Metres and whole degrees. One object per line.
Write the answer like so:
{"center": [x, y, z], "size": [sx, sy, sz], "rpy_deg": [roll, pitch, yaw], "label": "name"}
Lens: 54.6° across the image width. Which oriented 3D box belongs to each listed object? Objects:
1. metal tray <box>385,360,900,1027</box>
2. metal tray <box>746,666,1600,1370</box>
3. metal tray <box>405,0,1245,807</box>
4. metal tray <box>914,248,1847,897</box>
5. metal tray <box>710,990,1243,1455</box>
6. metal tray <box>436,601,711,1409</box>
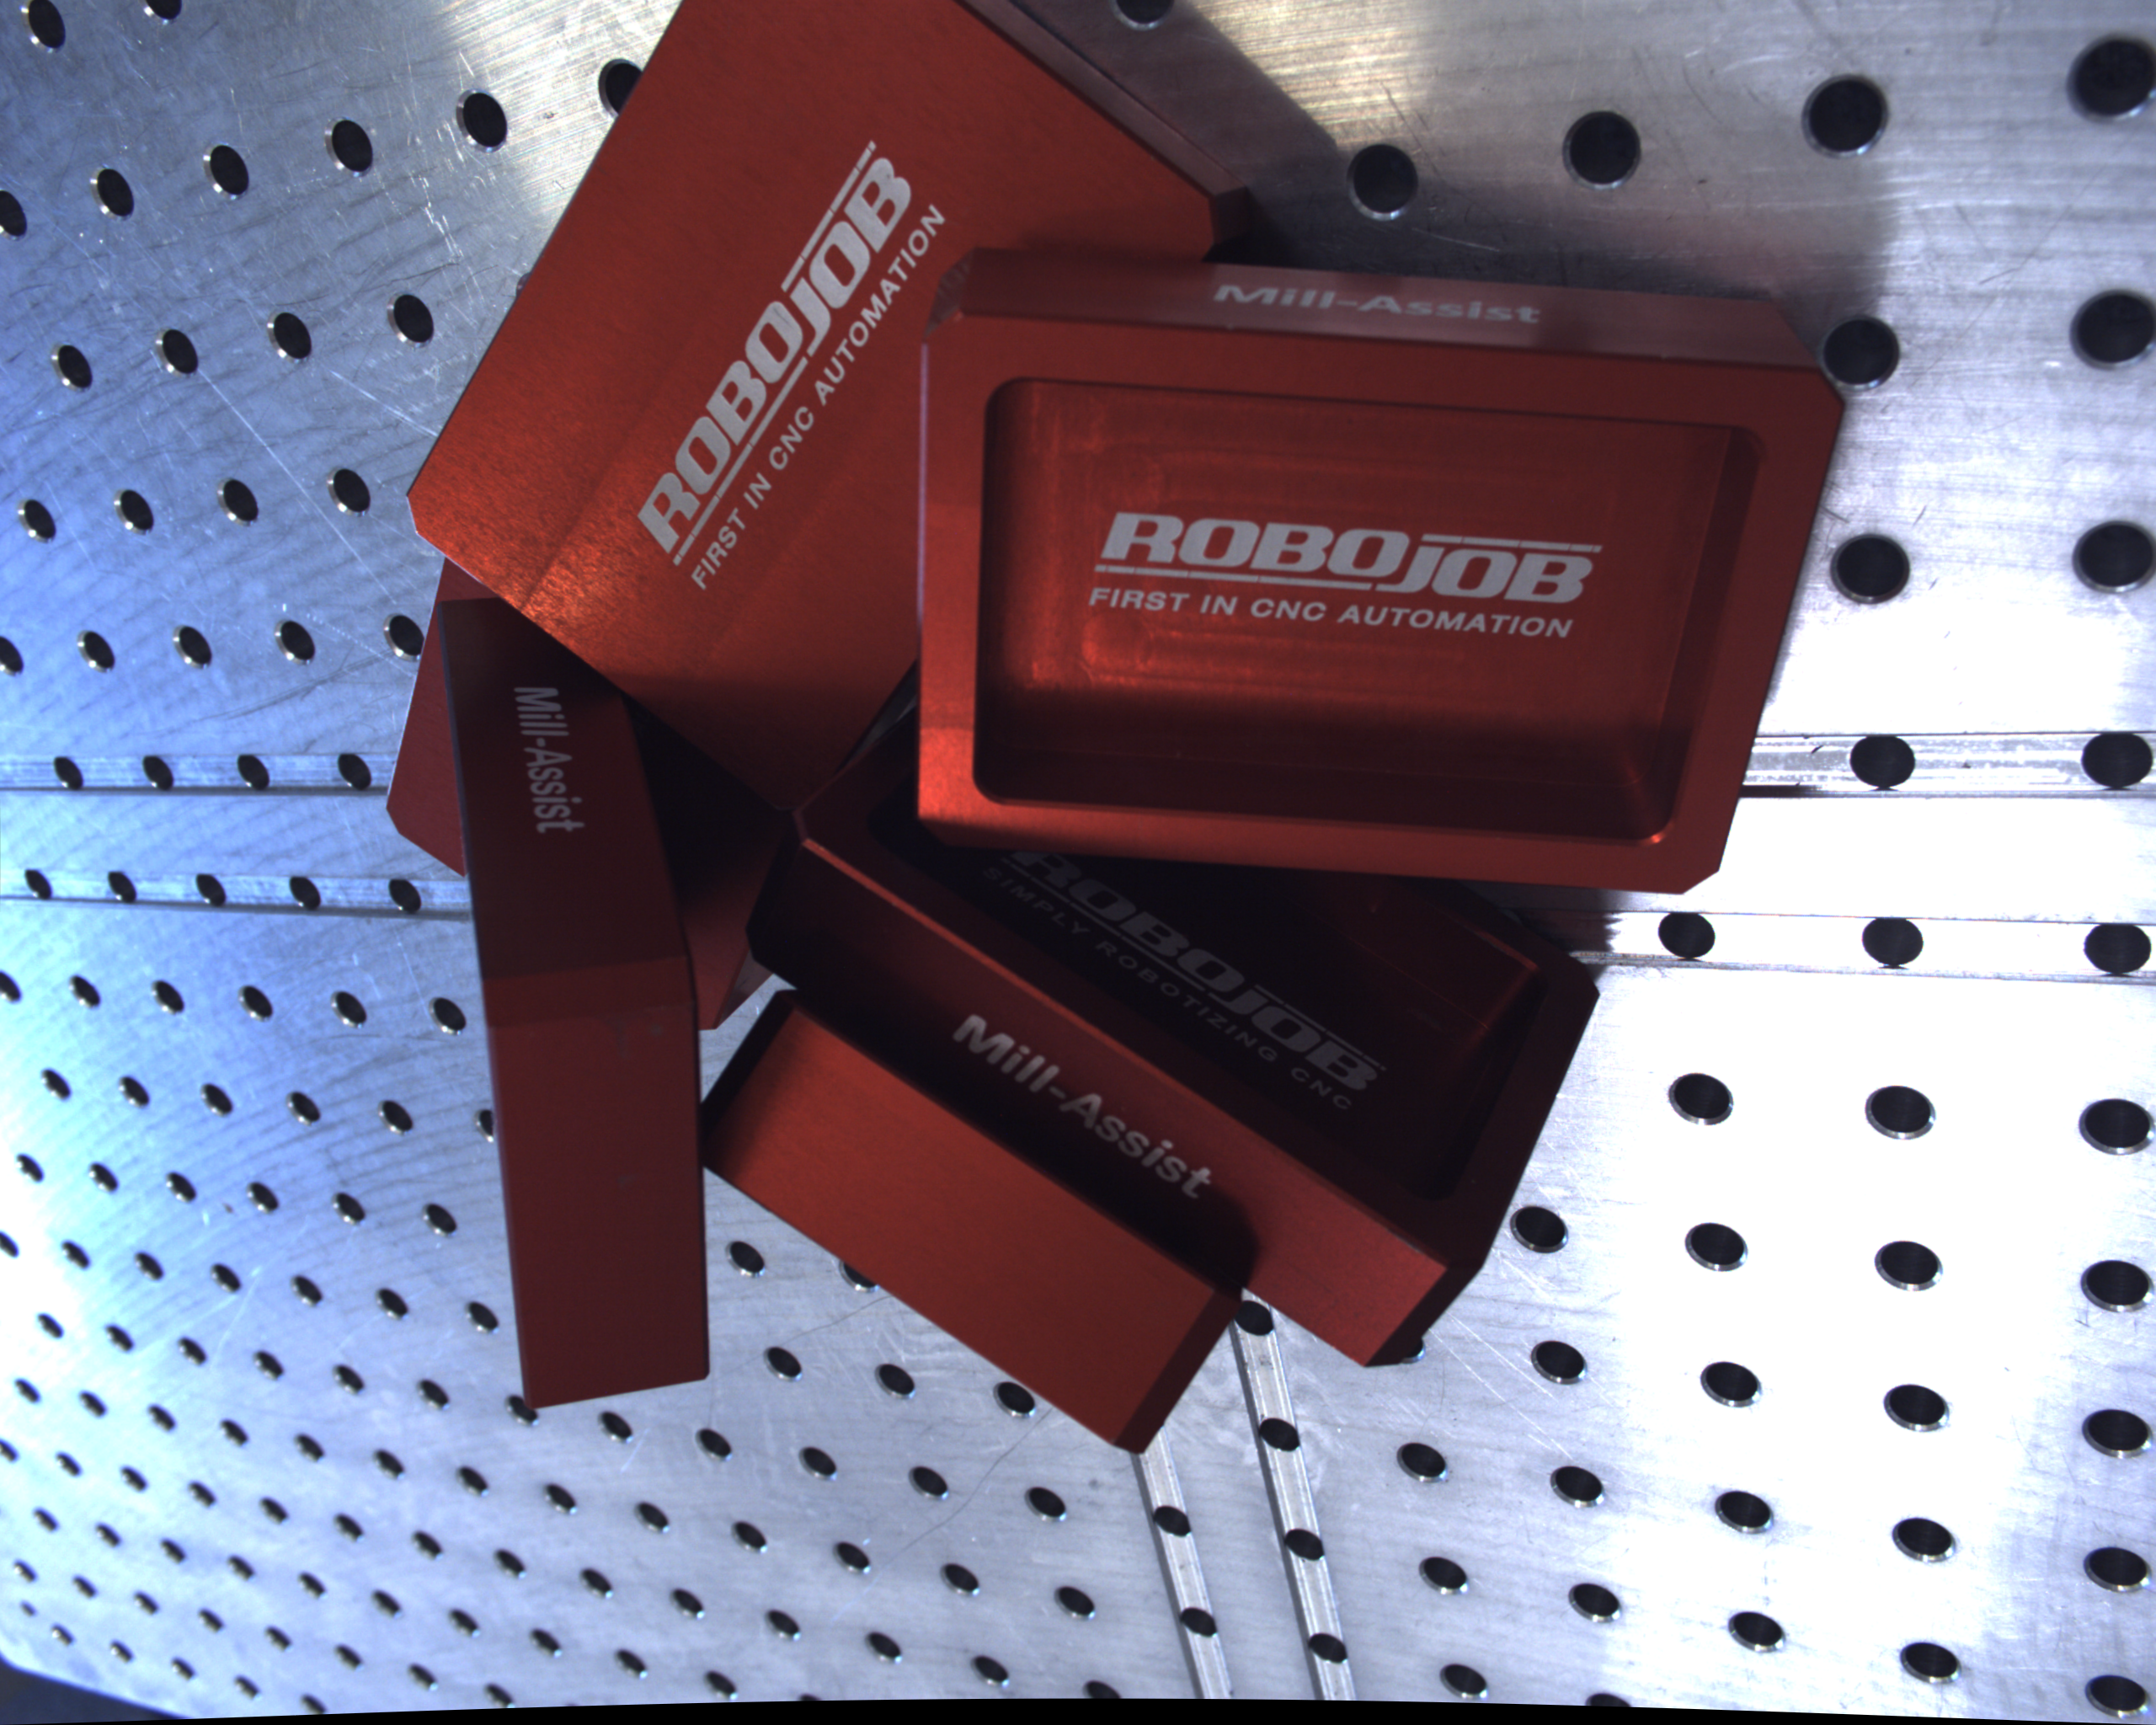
{"center": [-0.088, -0.036, 0.433], "size": [0.090, 0.030, 0.129], "rpy_deg": [33, 129, 5], "label": "metal tray"}
{"center": [0.020, 0.018, 0.369], "size": [0.130, 0.090, 0.030], "rpy_deg": [33, 128, 6], "label": "metal tray"}
{"center": [-0.045, -0.085, 0.356], "size": [0.090, 0.030, 0.129], "rpy_deg": [38, 115, -2], "label": "metal tray"}
{"center": [0.042, -0.044, 0.328], "size": [0.131, 0.030, 0.089], "rpy_deg": [4, 123, 0], "label": "metal tray"}
{"center": [-0.013, 0.061, 0.394], "size": [0.090, 0.130, 0.030], "rpy_deg": [33, 90, 6], "label": "metal tray"}
{"center": [-0.092, 0.019, 0.375], "size": [0.030, 0.130, 0.089], "rpy_deg": [-6, 125, -17], "label": "metal tray"}
